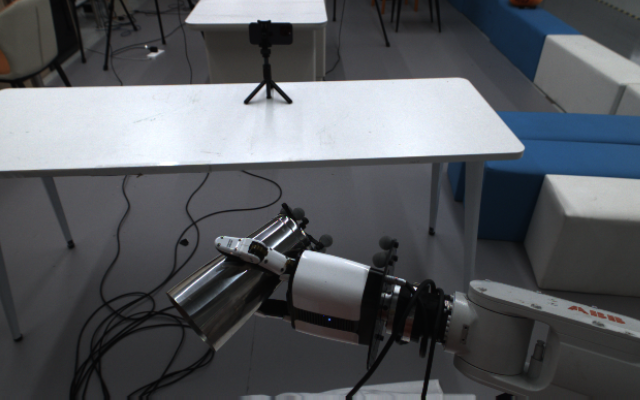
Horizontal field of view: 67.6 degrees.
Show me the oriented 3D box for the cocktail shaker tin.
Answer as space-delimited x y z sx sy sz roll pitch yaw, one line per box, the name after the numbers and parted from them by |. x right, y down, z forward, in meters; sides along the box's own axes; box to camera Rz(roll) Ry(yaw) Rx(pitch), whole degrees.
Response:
-0.092 0.090 0.602 0.170 0.093 0.093 -38 49 -24 | cocktail shaker tin
